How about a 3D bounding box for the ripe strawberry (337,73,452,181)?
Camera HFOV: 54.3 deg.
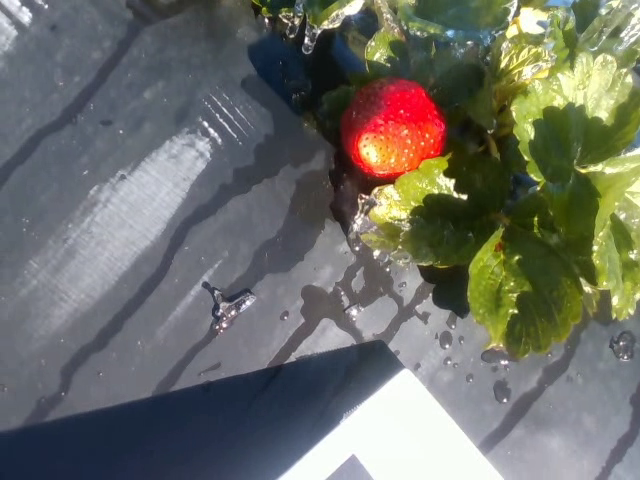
[{"bbox_3d":[0.023,-0.036,0.212,0.041,0.047,0.052,44,26,10],"label":"ripe strawberry"}]
